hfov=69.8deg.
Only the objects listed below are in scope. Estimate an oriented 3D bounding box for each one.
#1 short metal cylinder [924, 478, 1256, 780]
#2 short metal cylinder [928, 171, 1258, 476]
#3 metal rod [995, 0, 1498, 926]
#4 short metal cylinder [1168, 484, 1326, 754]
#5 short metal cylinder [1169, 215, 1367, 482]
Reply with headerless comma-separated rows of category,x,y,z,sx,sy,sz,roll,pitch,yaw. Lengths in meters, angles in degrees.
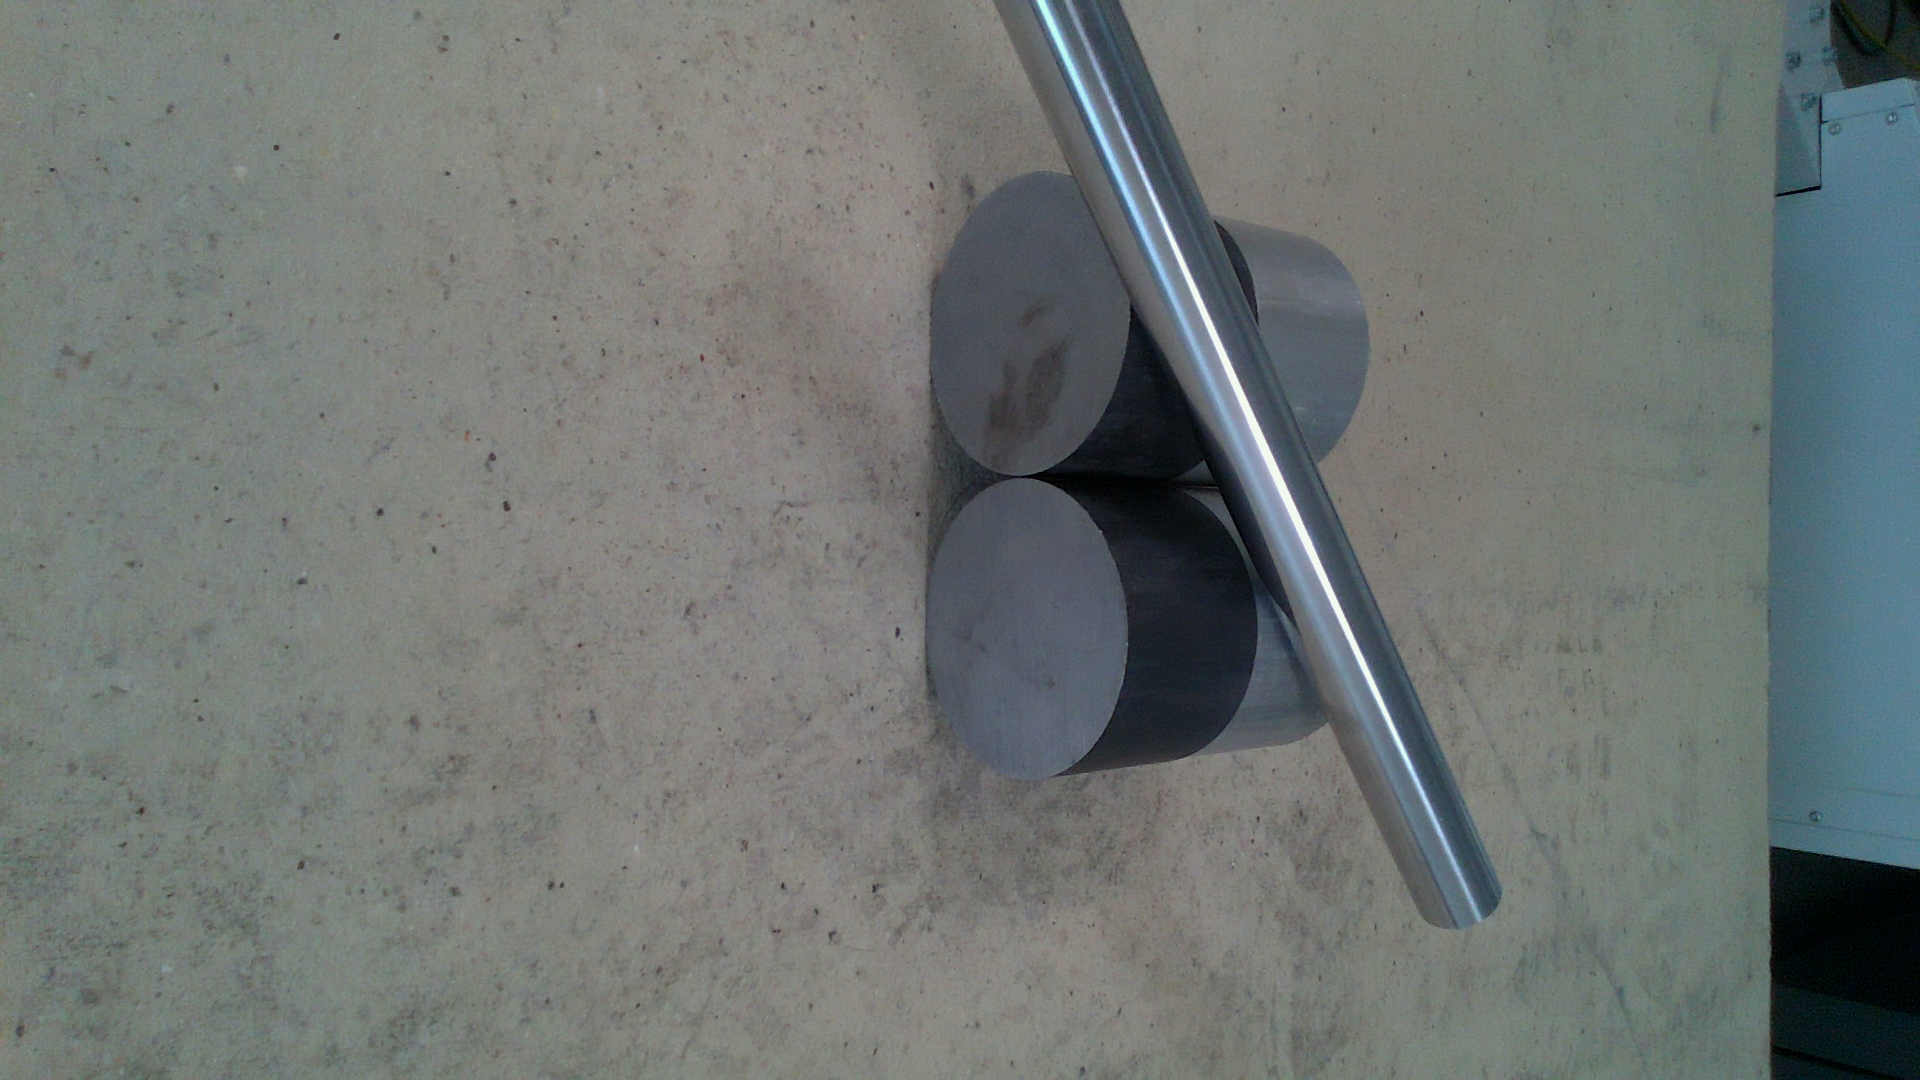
short metal cylinder,0.034,0.024,0.382,0.050,0.080,0.080,1,89,-40
short metal cylinder,0.035,-0.057,0.383,0.050,0.080,0.080,1,89,-40
metal rod,0.079,-0.016,0.351,0.025,0.025,0.300,-44,116,-31
short metal cylinder,0.073,0.024,0.415,0.050,0.080,0.080,1,89,-40
short metal cylinder,0.074,-0.056,0.415,0.050,0.080,0.080,1,89,-40
